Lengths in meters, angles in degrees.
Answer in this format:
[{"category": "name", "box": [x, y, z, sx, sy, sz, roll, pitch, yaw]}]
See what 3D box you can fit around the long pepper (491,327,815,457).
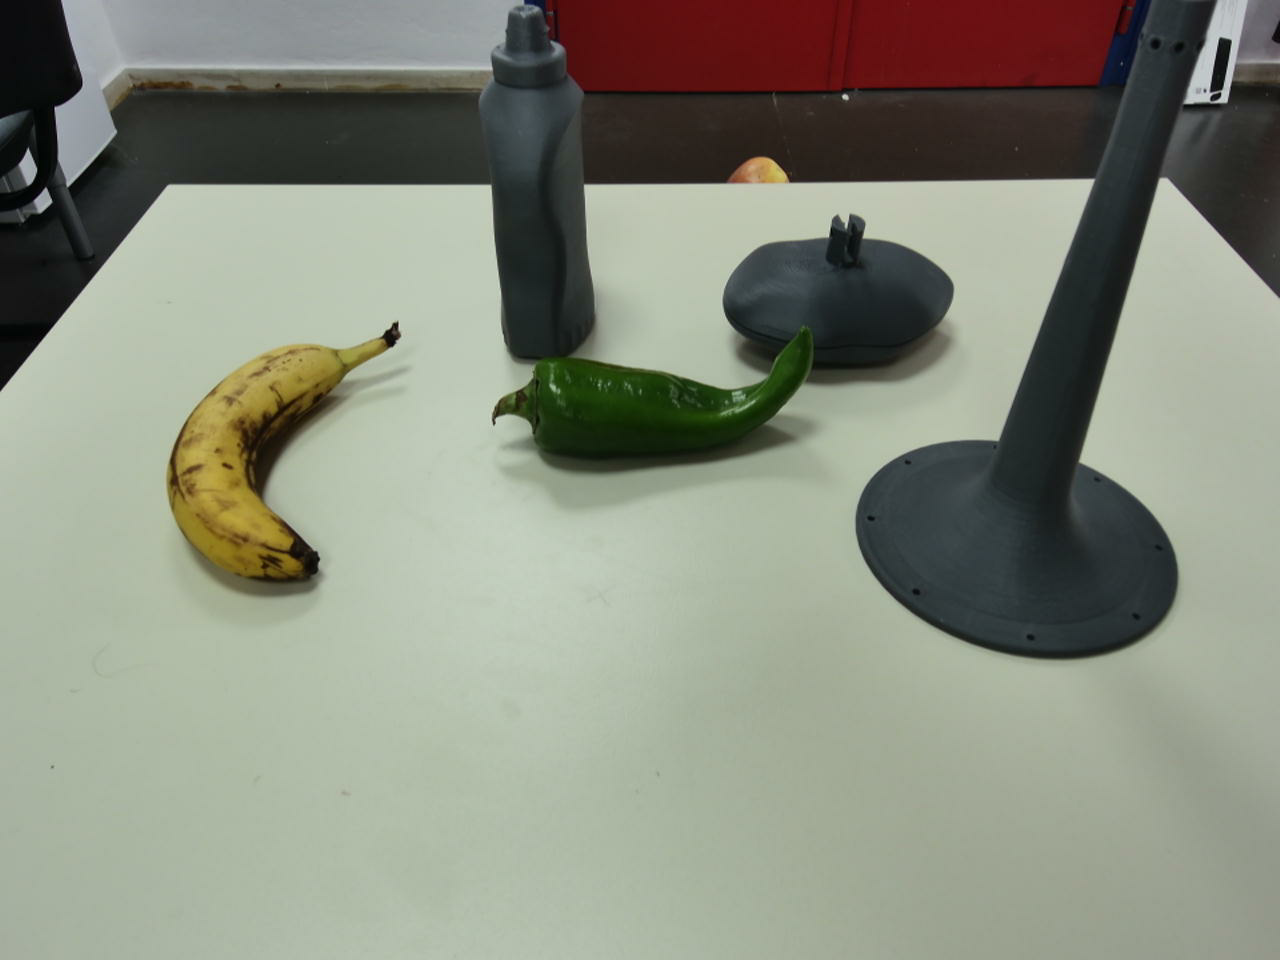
[{"category": "long pepper", "box": [0.007, -0.047, 0.538, 0.175, 0.065, 0.058, -1, 39, -1]}]
